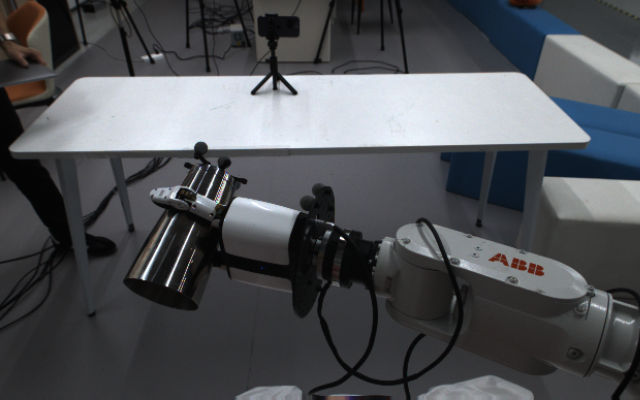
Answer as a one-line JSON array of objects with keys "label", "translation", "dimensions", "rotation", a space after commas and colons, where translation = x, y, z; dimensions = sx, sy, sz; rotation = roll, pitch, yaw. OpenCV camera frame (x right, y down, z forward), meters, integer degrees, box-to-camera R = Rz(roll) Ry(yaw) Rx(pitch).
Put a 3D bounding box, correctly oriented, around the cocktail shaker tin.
[{"label": "cocktail shaker tin", "translation": [-0.164, 0.042, 0.606], "dimensions": [0.093, 0.093, 0.170], "rotation": [10, 60, 12]}]
